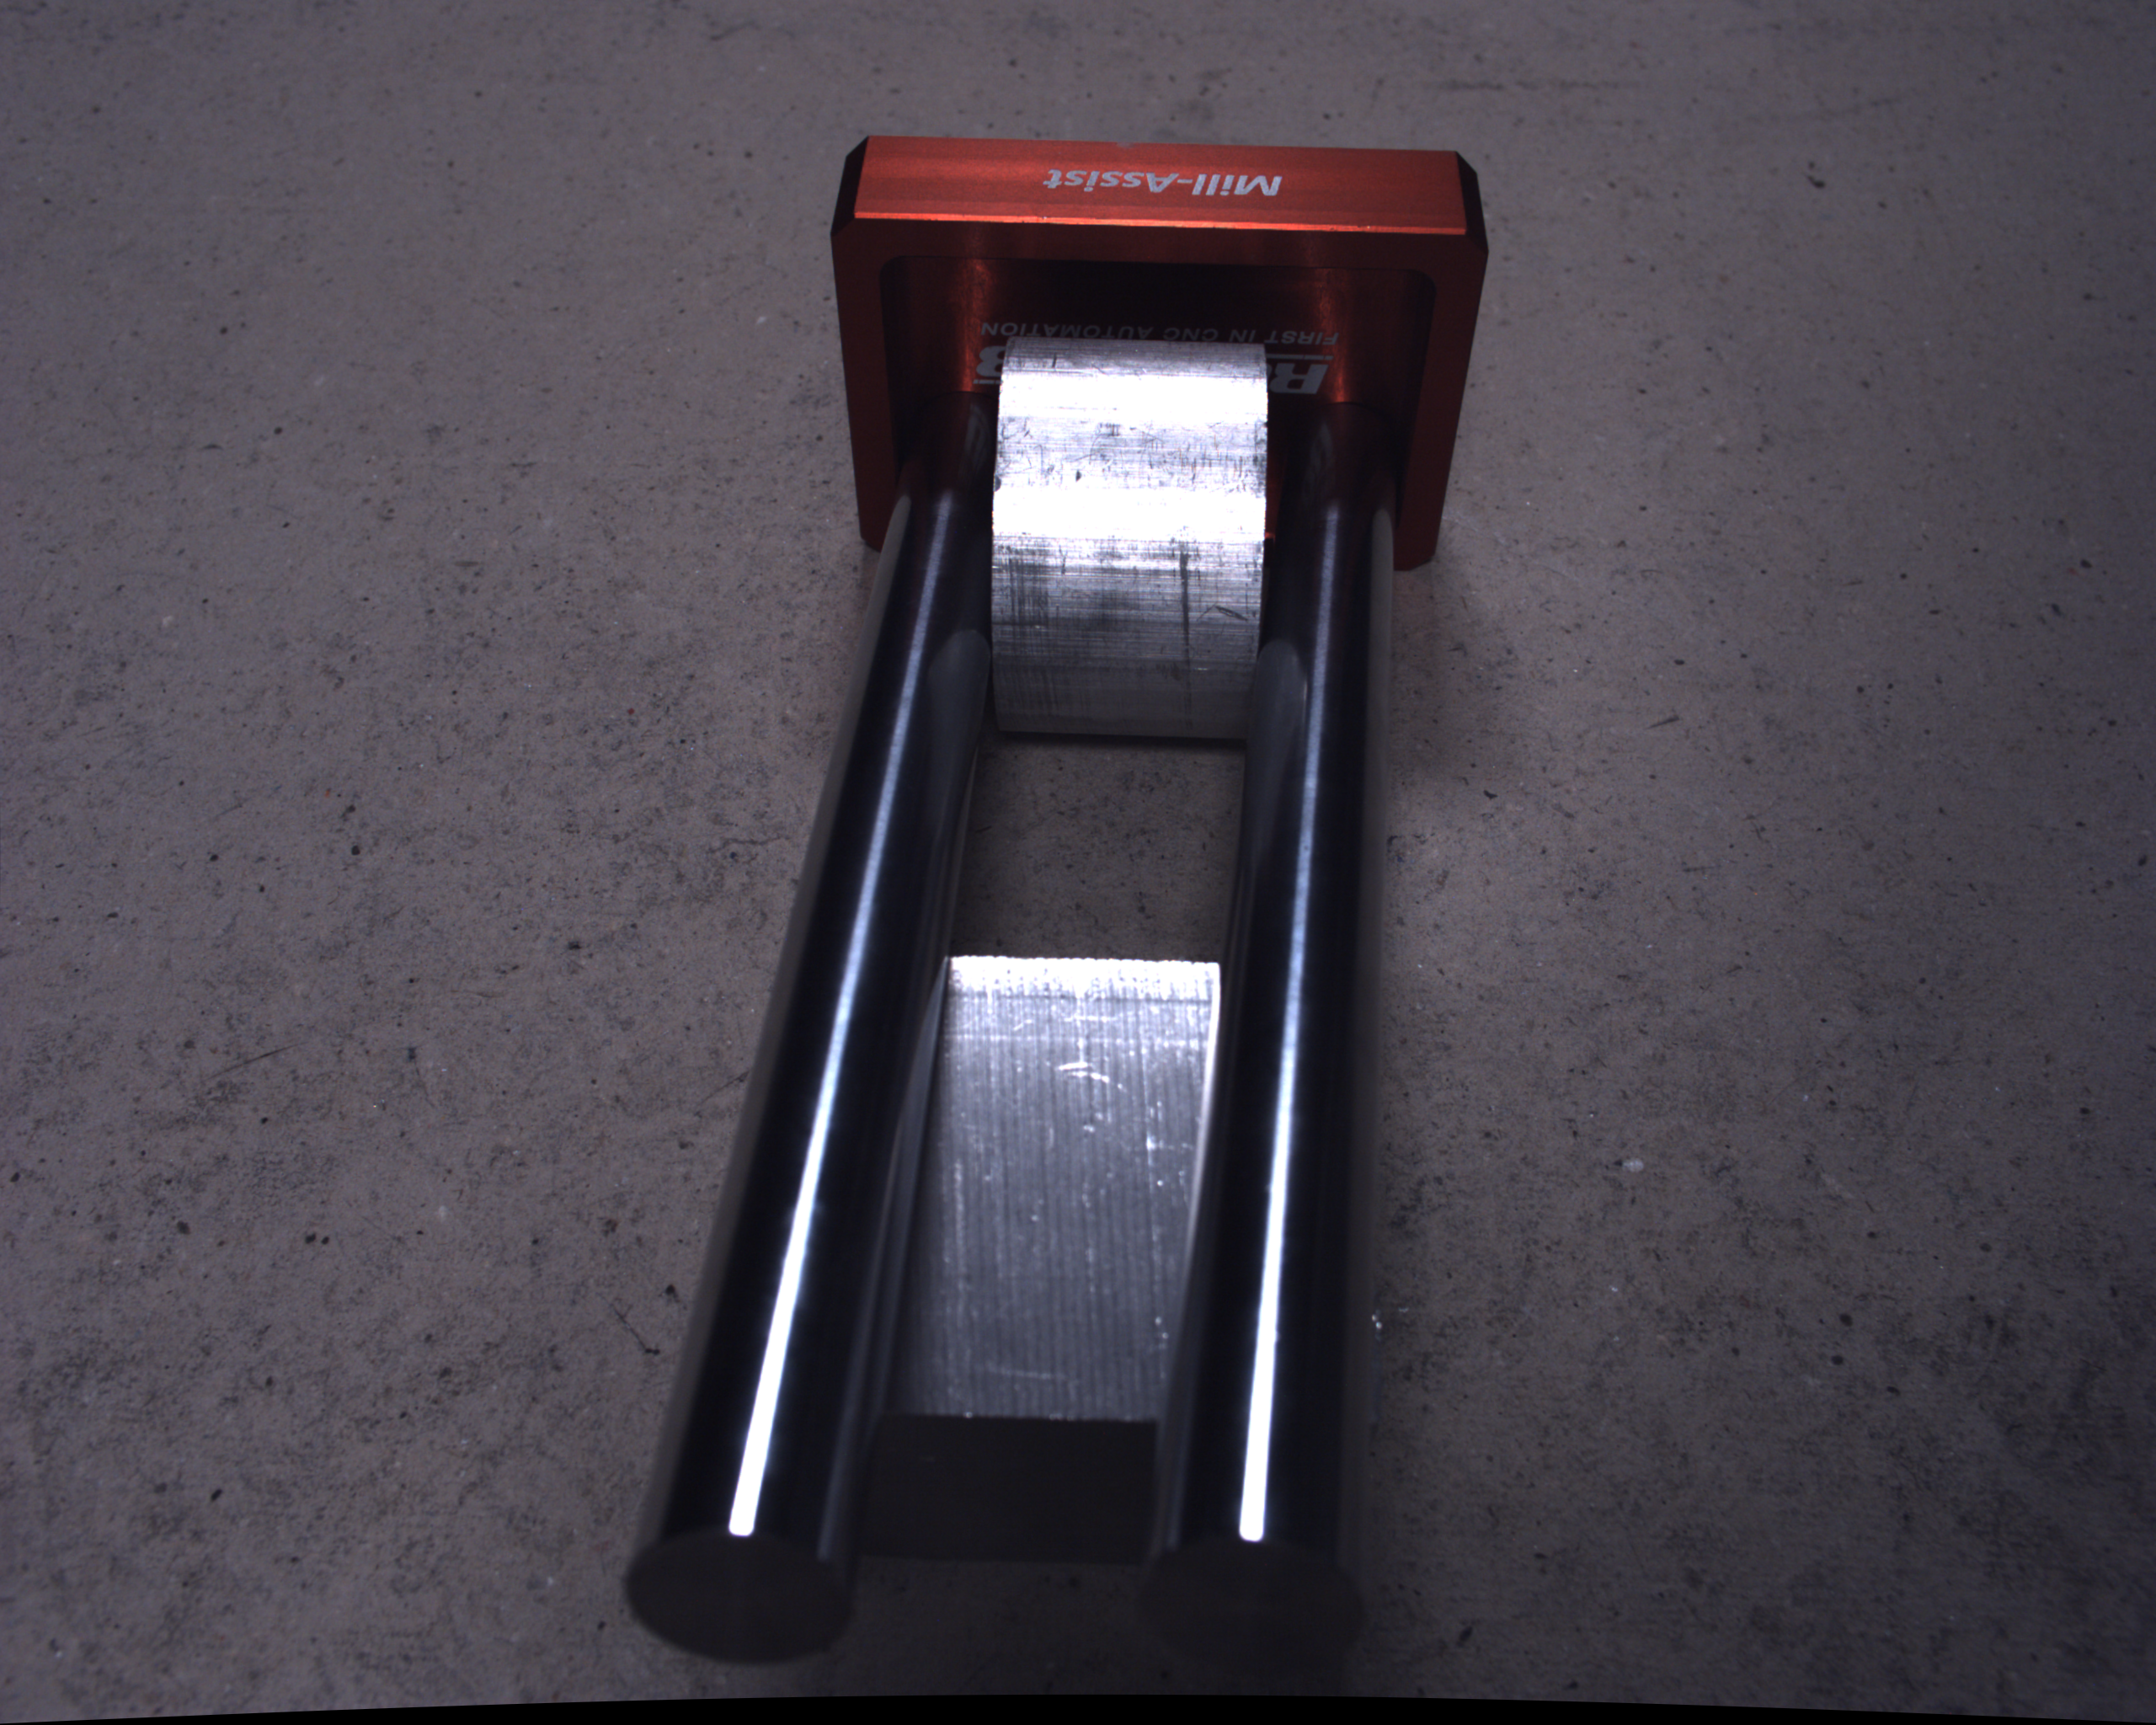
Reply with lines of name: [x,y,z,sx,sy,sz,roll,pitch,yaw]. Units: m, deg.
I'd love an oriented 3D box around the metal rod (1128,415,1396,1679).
metal rod: [0.039,-0.004,0.348,0.025,0.025,0.301,7,35,5]

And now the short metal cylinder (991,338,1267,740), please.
short metal cylinder: [0.010,-0.065,0.425,0.050,0.080,0.080,2,50,1]

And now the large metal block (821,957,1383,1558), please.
large metal block: [0.003,0.062,0.333,0.081,0.050,0.080,1,50,1]

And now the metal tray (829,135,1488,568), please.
metal tray: [0.016,-0.109,0.454,0.131,0.089,0.030,2,50,1]

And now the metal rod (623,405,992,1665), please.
metal rod: [-0.032,-0.006,0.350,0.025,0.025,0.300,2,35,1]
